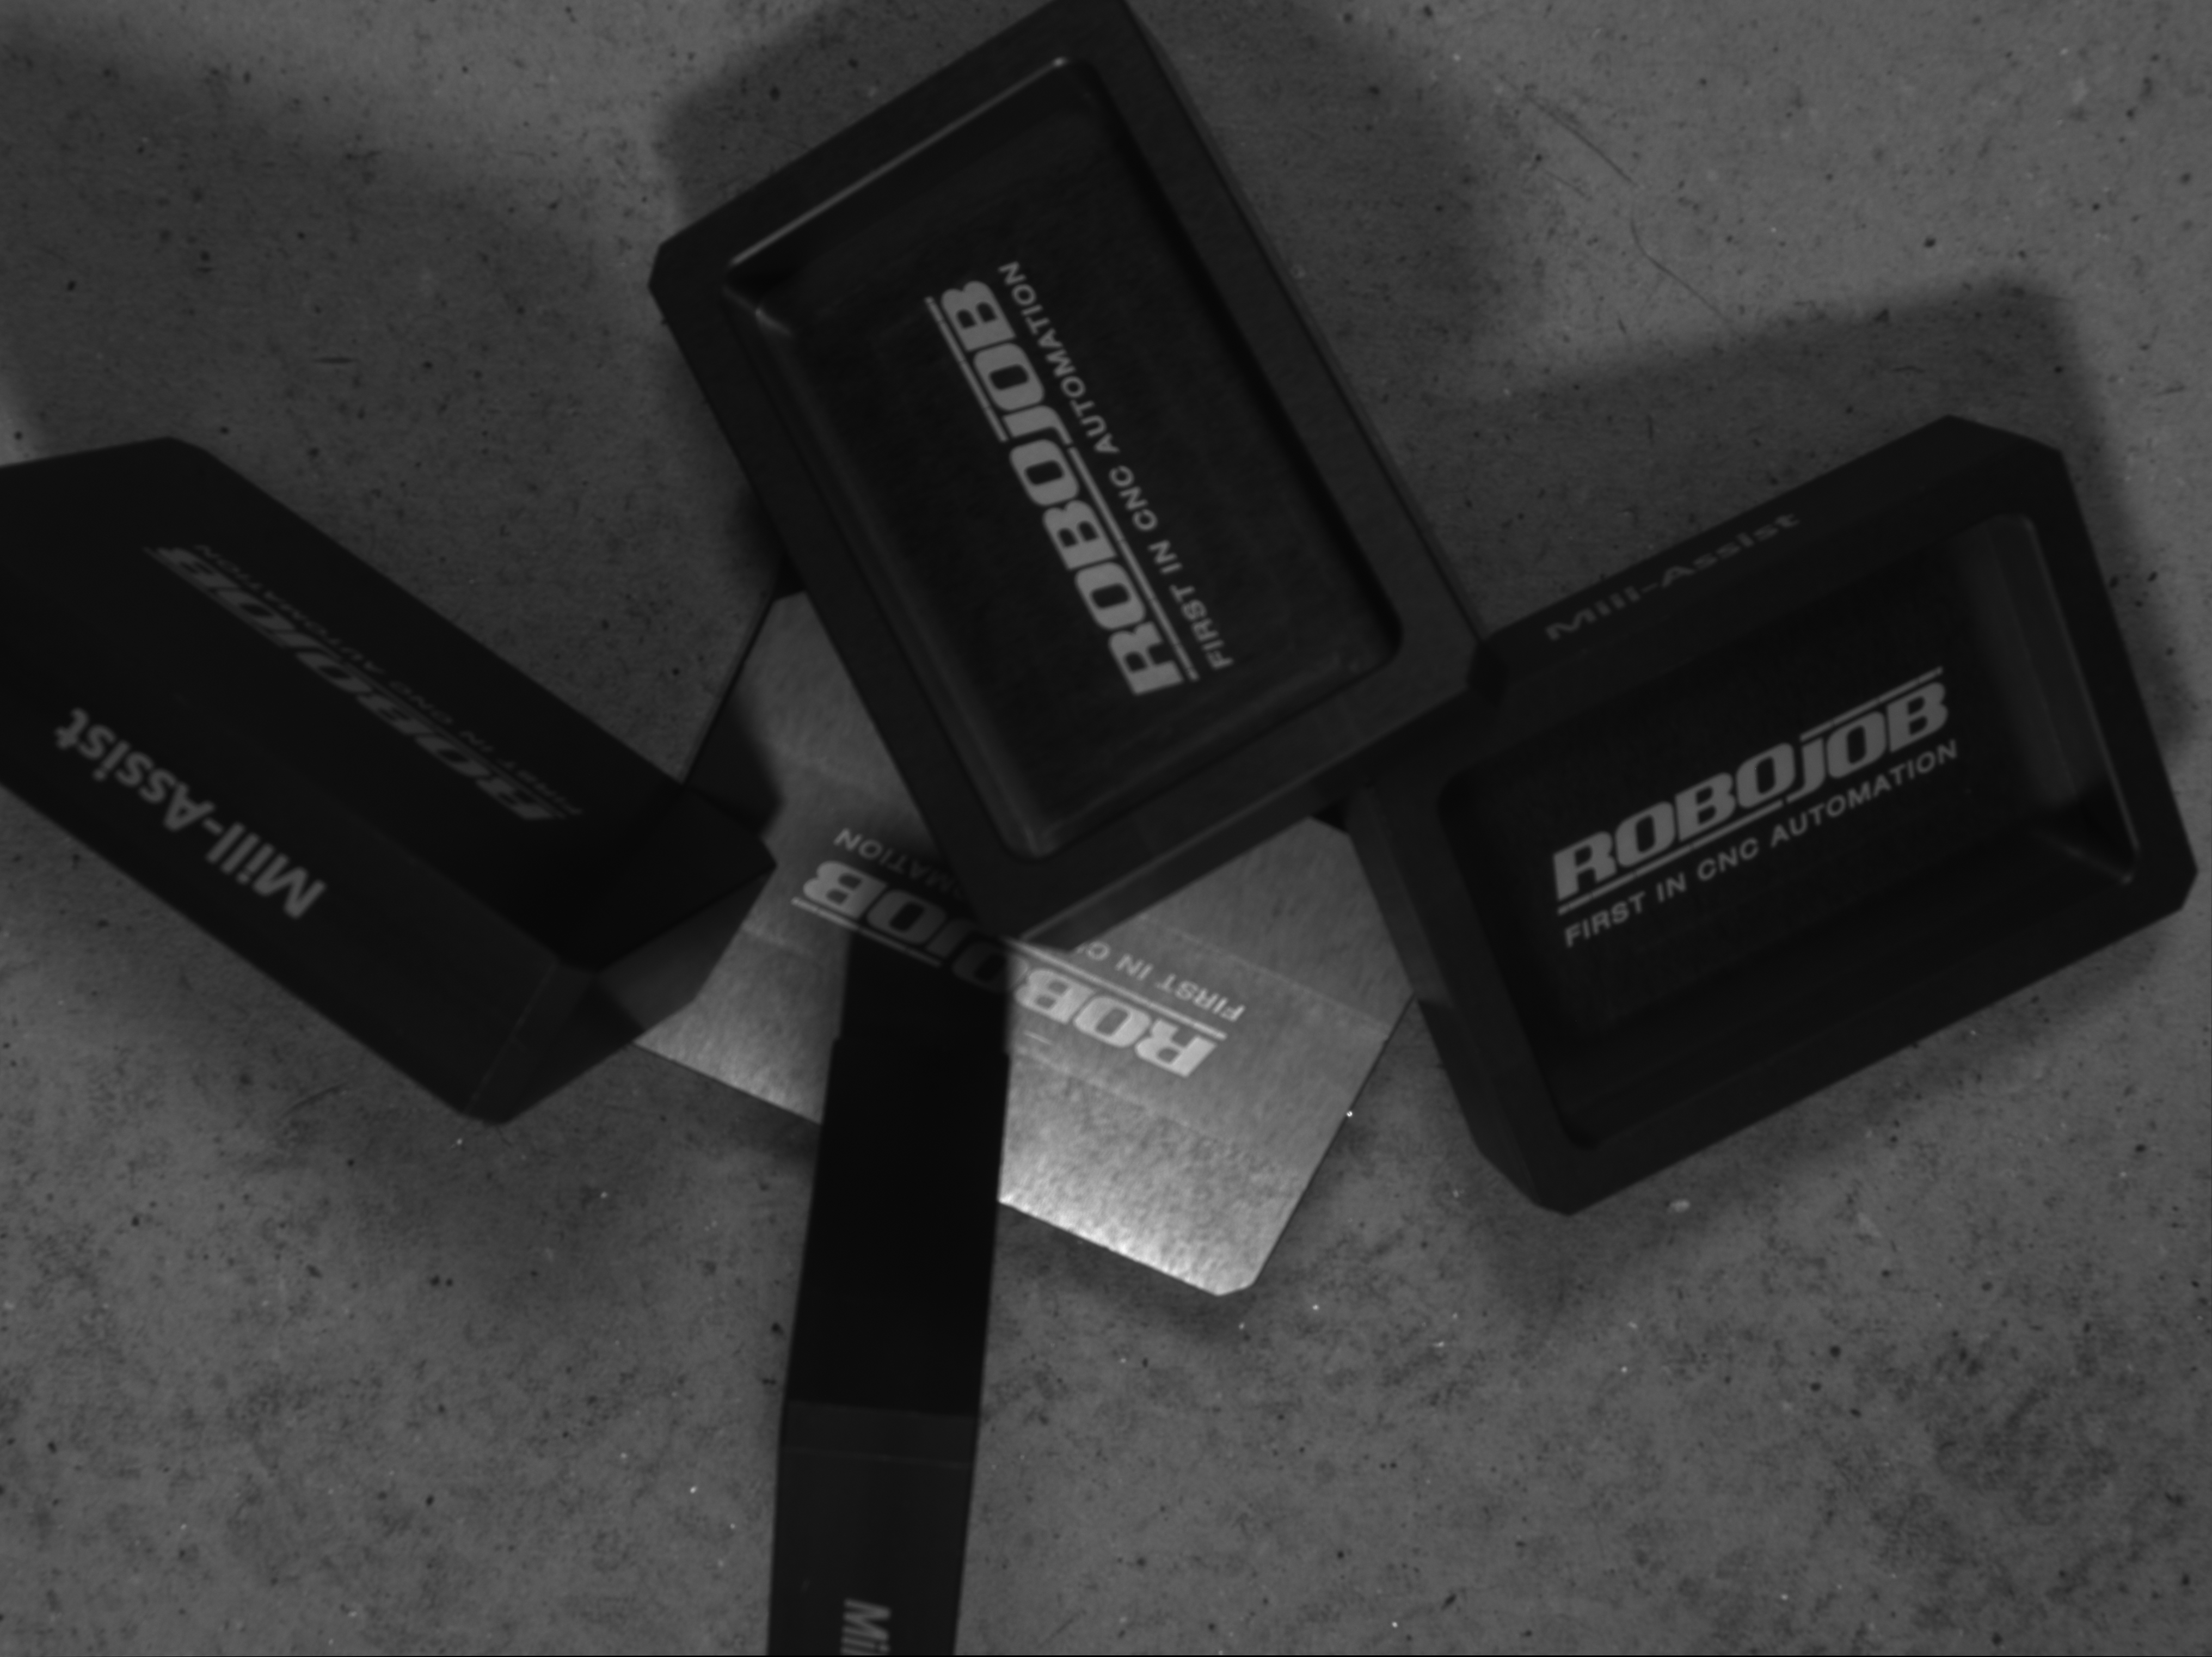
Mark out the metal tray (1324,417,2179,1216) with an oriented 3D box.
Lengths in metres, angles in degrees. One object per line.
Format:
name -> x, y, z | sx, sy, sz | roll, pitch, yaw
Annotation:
metal tray -> 0.108, -0.003, 0.623 | 0.130, 0.030, 0.090 | -25, 109, -7

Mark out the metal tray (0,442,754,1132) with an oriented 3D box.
metal tray -> -0.129, -0.010, 0.587 | 0.130, 0.090, 0.030 | 35, 107, 5

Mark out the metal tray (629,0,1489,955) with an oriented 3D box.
metal tray -> -0.008, -0.057, 0.589 | 0.090, 0.030, 0.130 | -30, 79, 10

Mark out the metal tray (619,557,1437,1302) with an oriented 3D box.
metal tray -> -0.018, 0.018, 0.646 | 0.130, 0.030, 0.090 | 24, 108, -9

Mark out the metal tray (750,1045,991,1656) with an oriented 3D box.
metal tray -> -0.042, 0.113, 0.628 | 0.030, 0.090, 0.130 | 5, 130, -2
